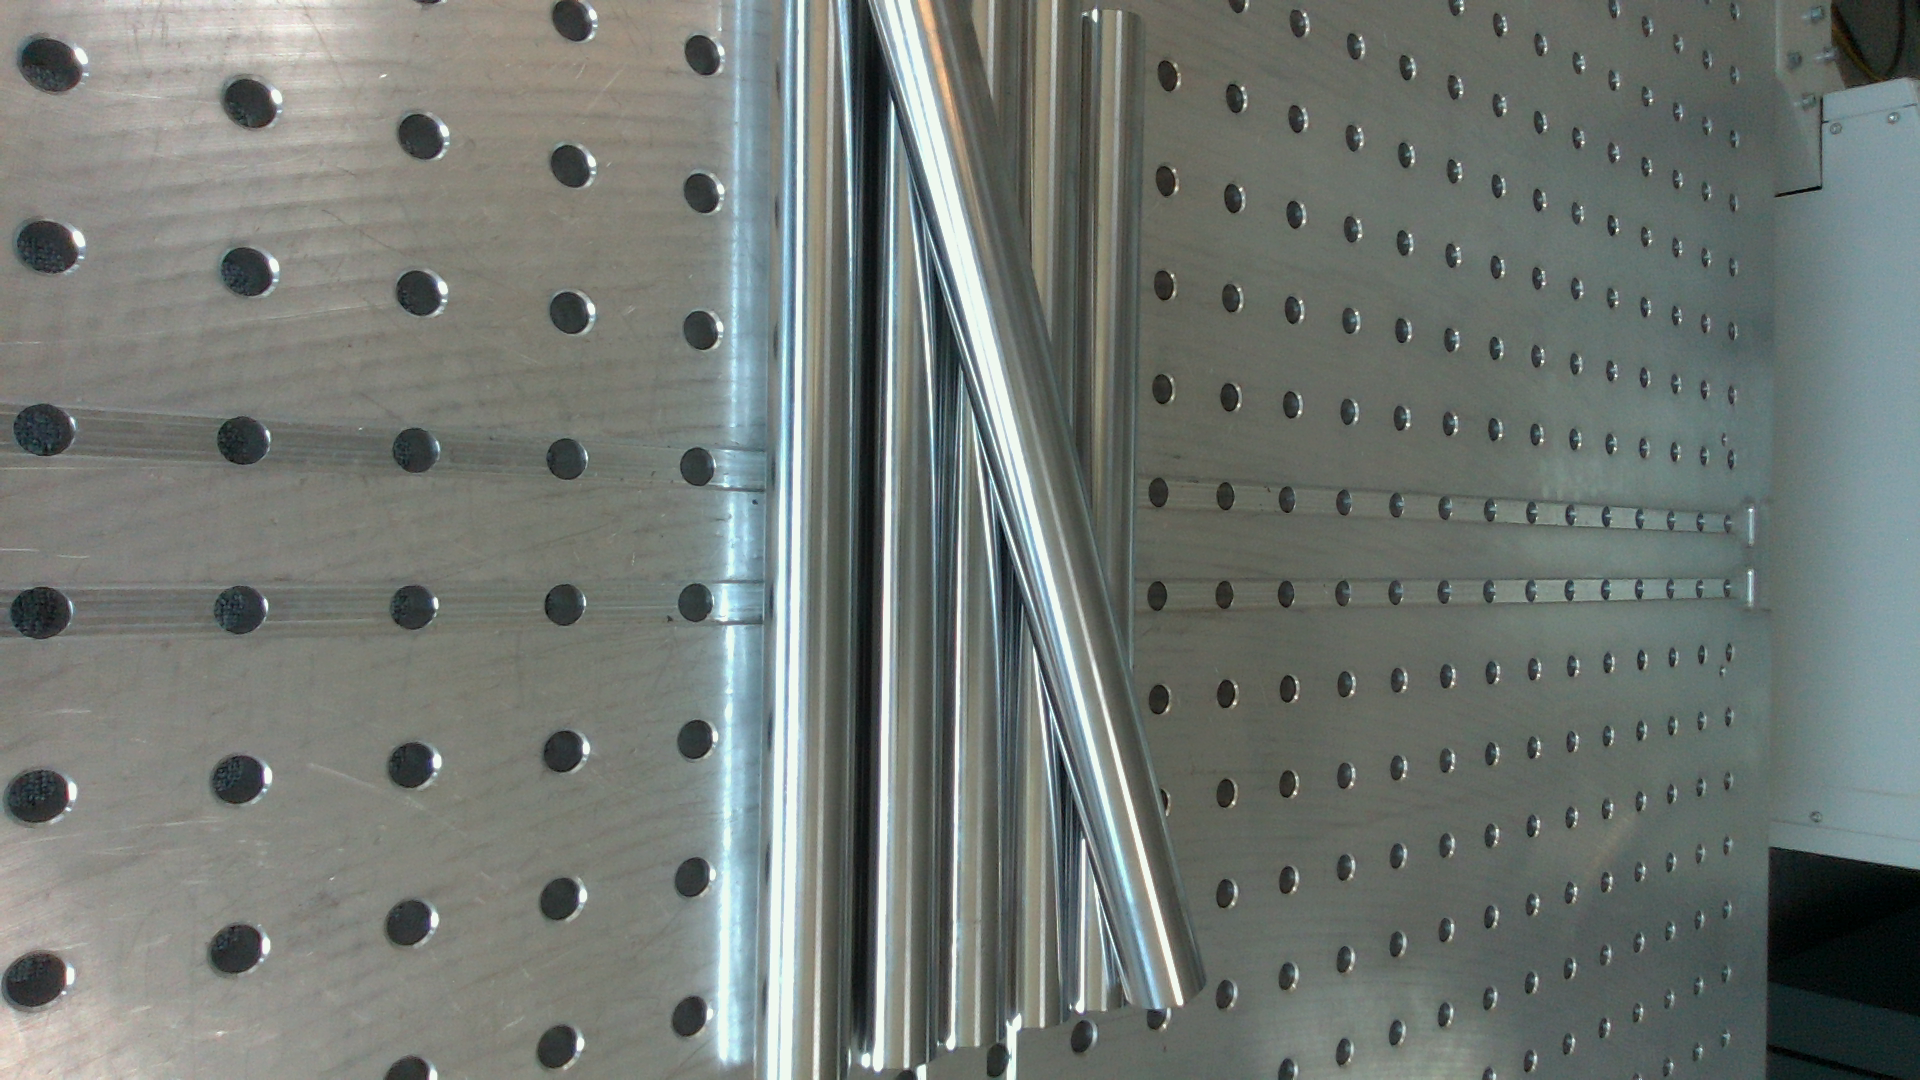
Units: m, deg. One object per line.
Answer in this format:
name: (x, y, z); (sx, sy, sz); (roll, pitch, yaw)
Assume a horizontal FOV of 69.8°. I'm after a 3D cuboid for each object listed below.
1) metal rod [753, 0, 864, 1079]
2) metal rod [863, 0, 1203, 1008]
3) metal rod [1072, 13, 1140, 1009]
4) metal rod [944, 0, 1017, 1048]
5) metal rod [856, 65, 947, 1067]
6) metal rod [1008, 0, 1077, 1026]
metal rod: (-0.039, -0.012, 0.358); (0.025, 0.025, 0.300); (1, 89, -40)
metal rod: (0.022, -0.010, 0.377); (0.025, 0.025, 0.300); (-24, 105, -37)
metal rod: (0.041, -0.009, 0.426); (0.025, 0.025, 0.300); (2, 89, -40)
metal rod: (0.002, -0.010, 0.392); (0.025, 0.025, 0.300); (1, 89, -40)
metal rod: (-0.016, -0.011, 0.376); (0.025, 0.025, 0.300); (1, 89, -40)
metal rod: (0.021, -0.010, 0.410); (0.025, 0.025, 0.300); (1, 89, -40)
